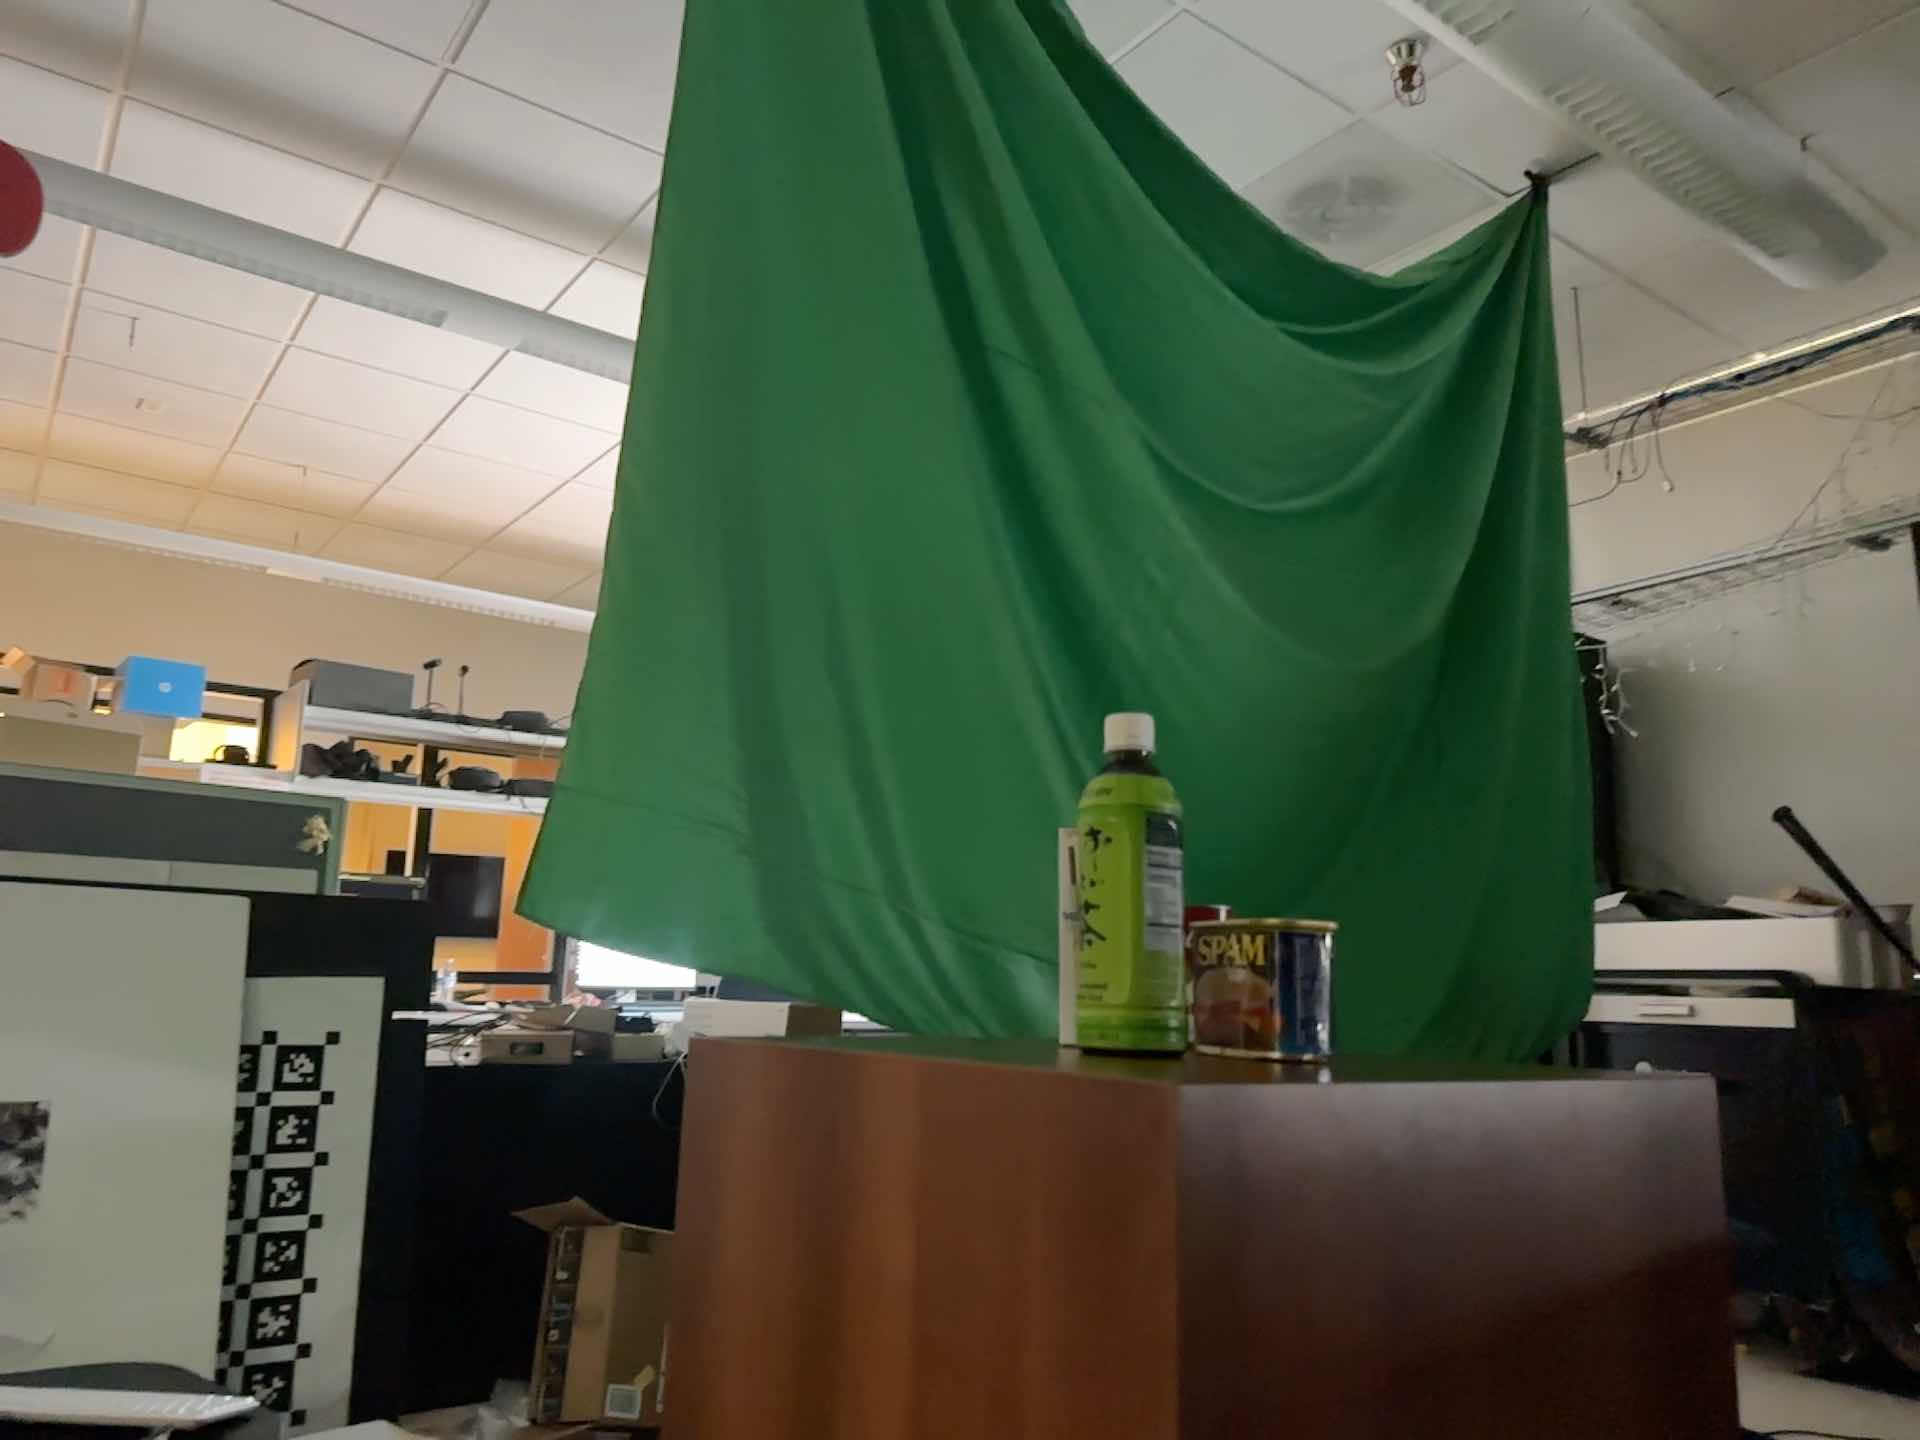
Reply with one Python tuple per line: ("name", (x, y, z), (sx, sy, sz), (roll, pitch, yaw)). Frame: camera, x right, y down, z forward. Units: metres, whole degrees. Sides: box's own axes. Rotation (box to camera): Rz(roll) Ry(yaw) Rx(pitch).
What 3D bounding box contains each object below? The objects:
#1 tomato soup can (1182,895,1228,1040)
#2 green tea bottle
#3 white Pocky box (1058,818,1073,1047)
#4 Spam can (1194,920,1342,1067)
("tomato soup can", (0.160, 0.178, 0.980), (0.067, 0.102, 0.067), (3, -7, 0))
("green tea bottle", (0.101, 0.097, 0.823), (0.073, 0.212, 0.073), (-1, -11, 0))
("white Pocky box", (0.084, 0.149, 0.949), (0.028, 0.154, 0.084), (0, -8, 6))
("Spam can", (0.191, 0.169, 0.842), (0.056, 0.083, 0.100), (5, -9, -21))
